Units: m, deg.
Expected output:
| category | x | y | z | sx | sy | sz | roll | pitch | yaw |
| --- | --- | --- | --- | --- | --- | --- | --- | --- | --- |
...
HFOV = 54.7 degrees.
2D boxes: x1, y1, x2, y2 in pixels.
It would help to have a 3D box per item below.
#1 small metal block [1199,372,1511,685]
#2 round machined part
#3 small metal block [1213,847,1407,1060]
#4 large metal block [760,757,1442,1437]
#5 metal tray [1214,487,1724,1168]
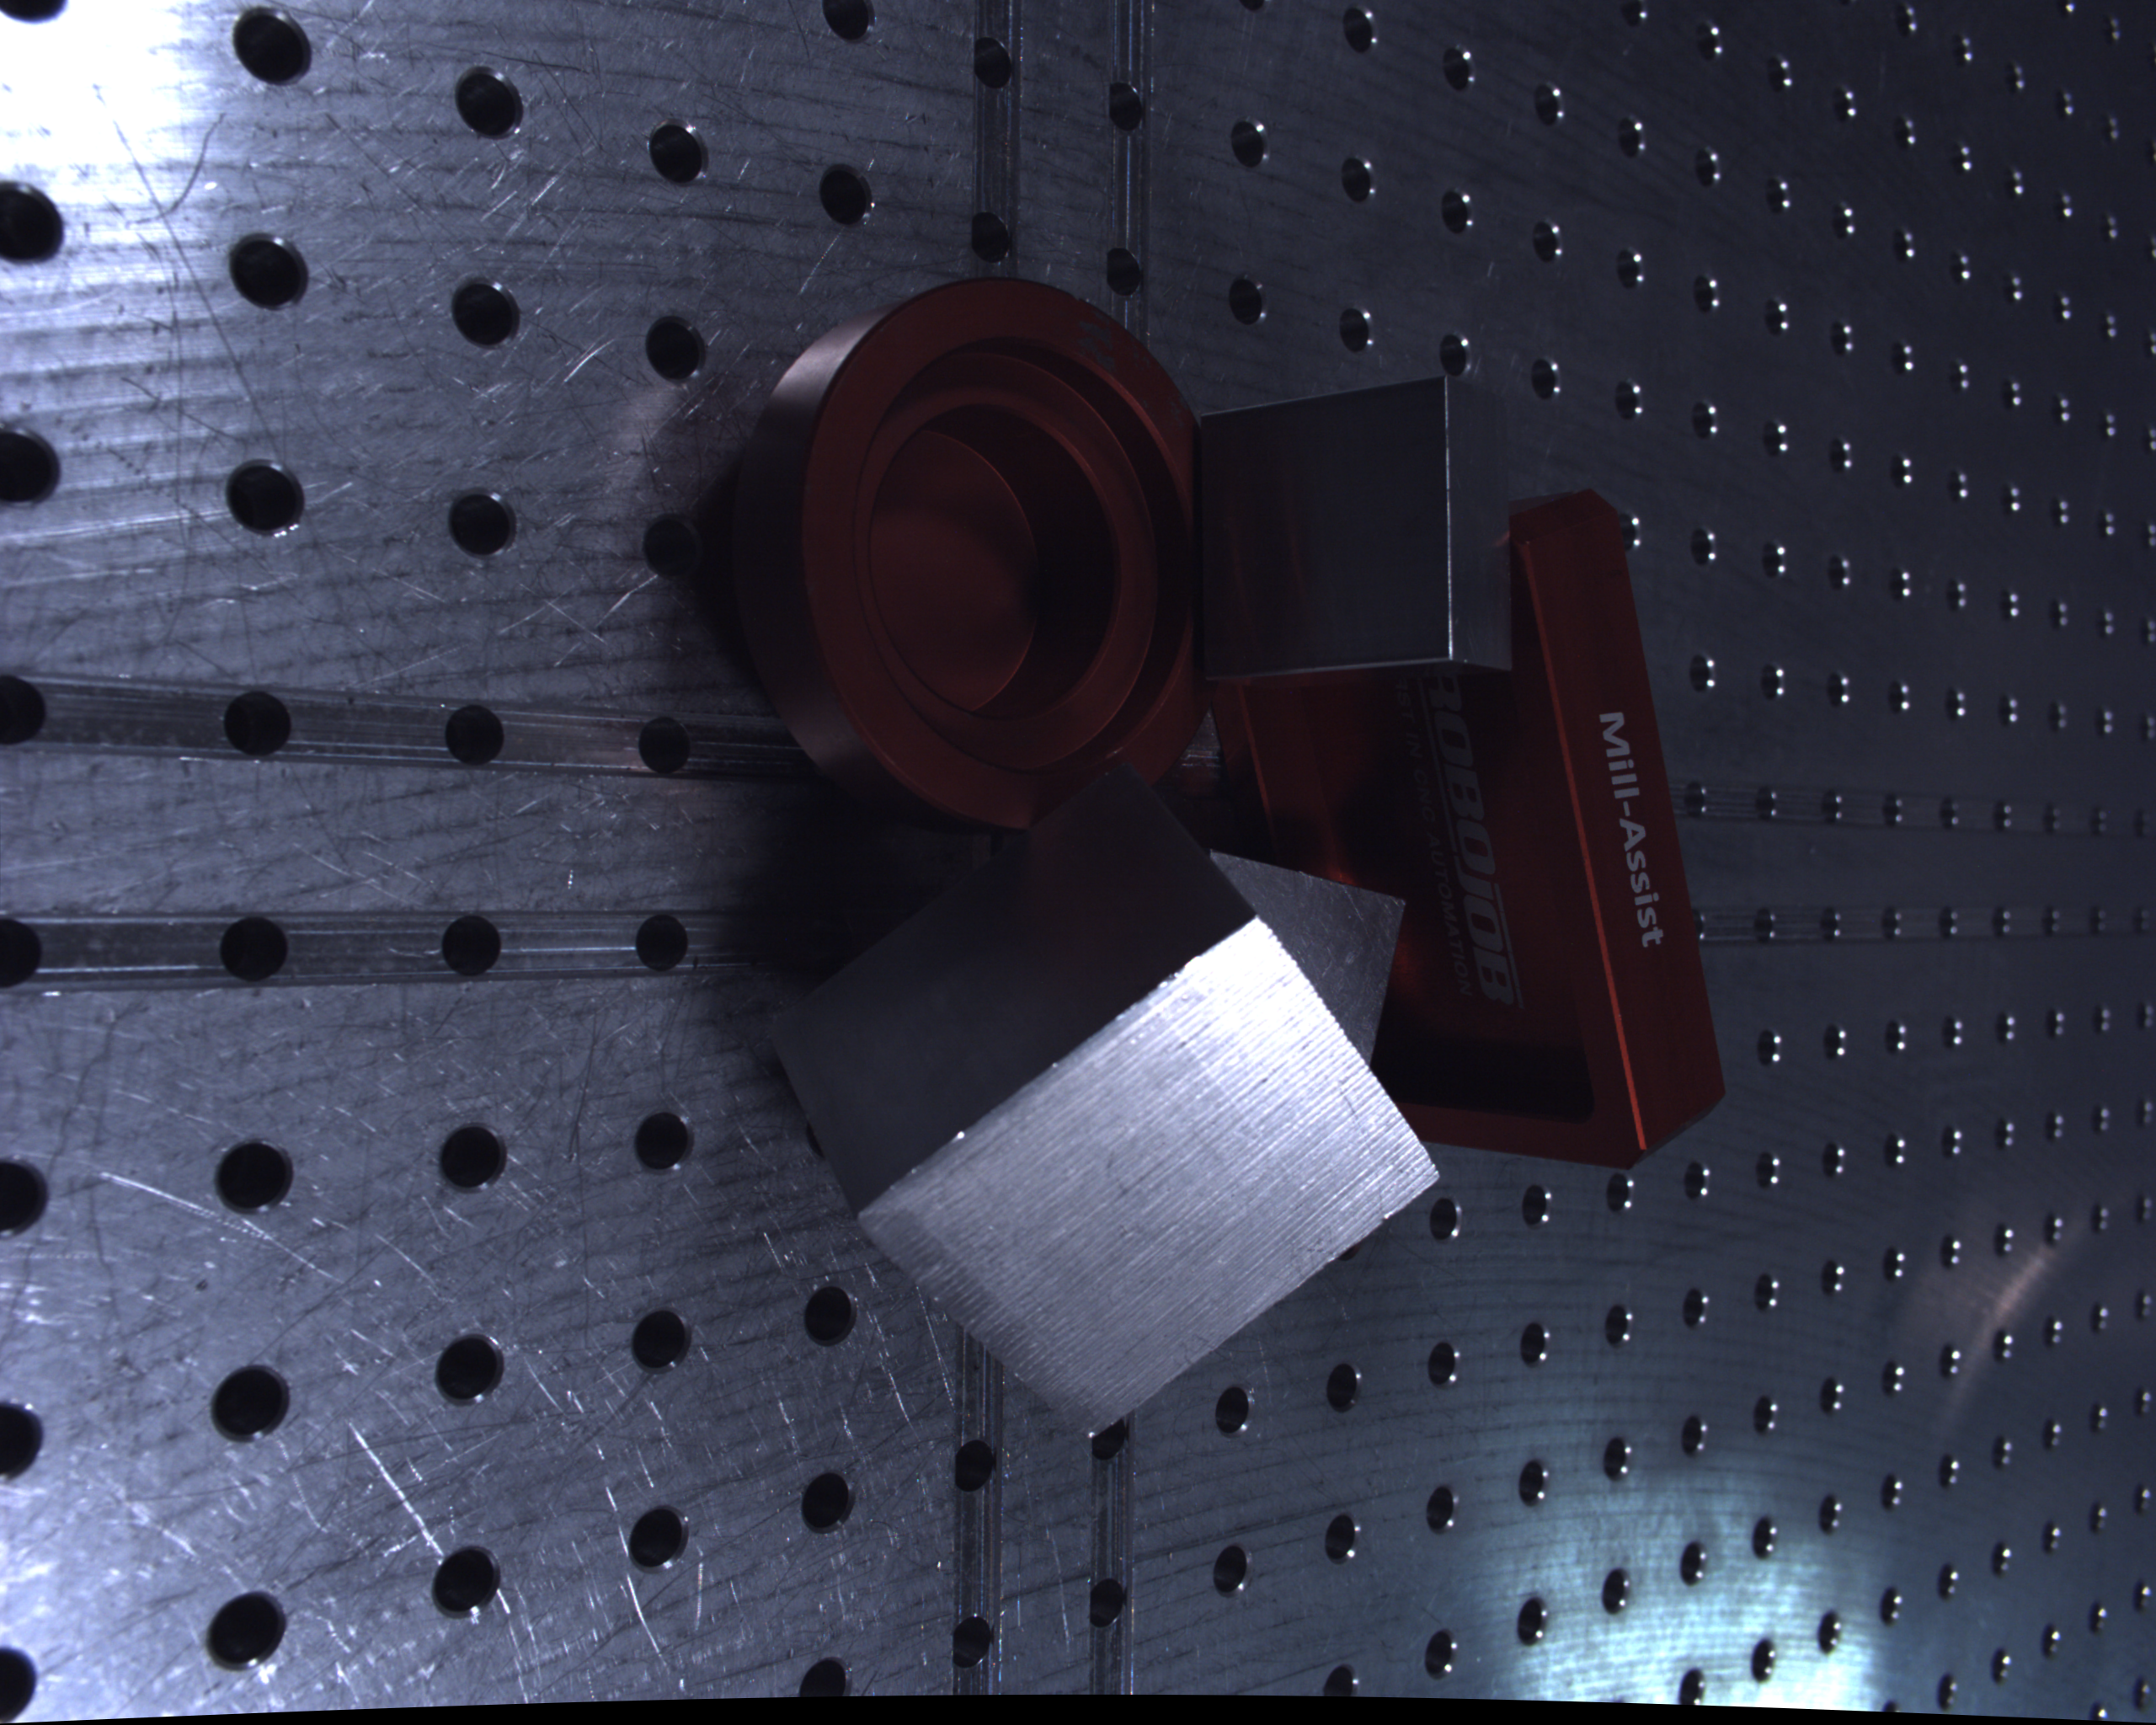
| category | x | y | z | sx | sy | sz | roll | pitch | yaw |
| --- | --- | --- | --- | --- | --- | --- | --- | --- | --- |
| small metal block | 0.051 | -0.059 | 0.384 | 0.025 | 0.050 | 0.050 | 0 | 89 | -55 |
| round machined part | -0.021 | -0.054 | 0.382 | 0.099 | 0.042 | 0.097 | 0 | 90 | -40 |
| small metal block | 0.037 | 0.026 | 0.436 | 0.050 | 0.025 | 0.050 | 14 | 86 | -28 |
| large metal block | 0.005 | 0.043 | 0.370 | 0.080 | 0.050 | 0.080 | -37 | 130 | 0 |
| metal tray | 0.077 | -0.006 | 0.434 | 0.030 | 0.090 | 0.129 | -23 | 105 | -38 |
